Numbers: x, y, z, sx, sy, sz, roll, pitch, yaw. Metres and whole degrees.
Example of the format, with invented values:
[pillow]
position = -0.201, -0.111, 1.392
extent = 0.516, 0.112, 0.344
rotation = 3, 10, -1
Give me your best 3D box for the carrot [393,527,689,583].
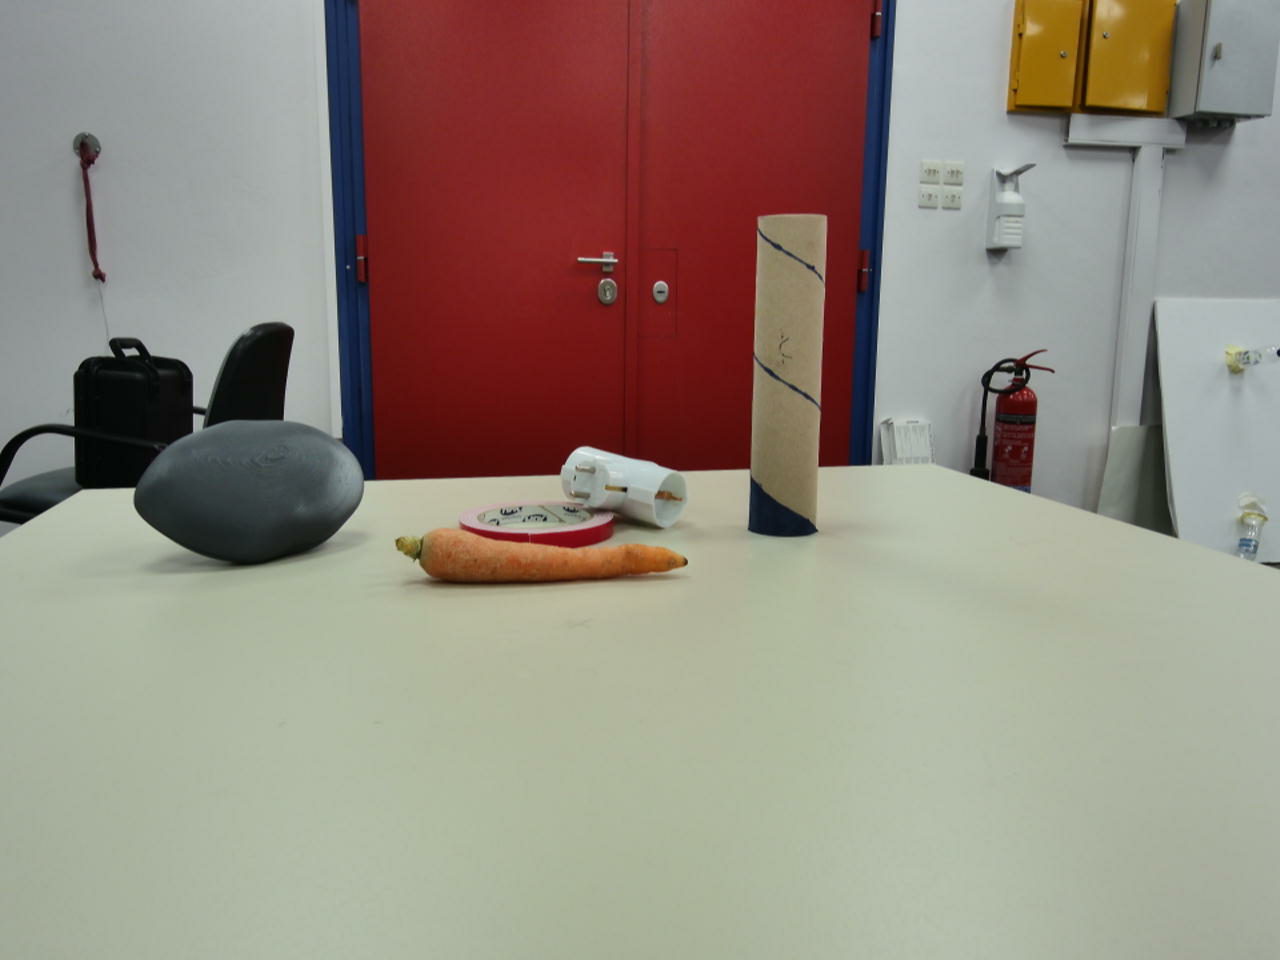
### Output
[carrot]
position = -0.056, 0.044, 0.587
extent = 0.173, 0.032, 0.030
rotation = 0, 8, -4
